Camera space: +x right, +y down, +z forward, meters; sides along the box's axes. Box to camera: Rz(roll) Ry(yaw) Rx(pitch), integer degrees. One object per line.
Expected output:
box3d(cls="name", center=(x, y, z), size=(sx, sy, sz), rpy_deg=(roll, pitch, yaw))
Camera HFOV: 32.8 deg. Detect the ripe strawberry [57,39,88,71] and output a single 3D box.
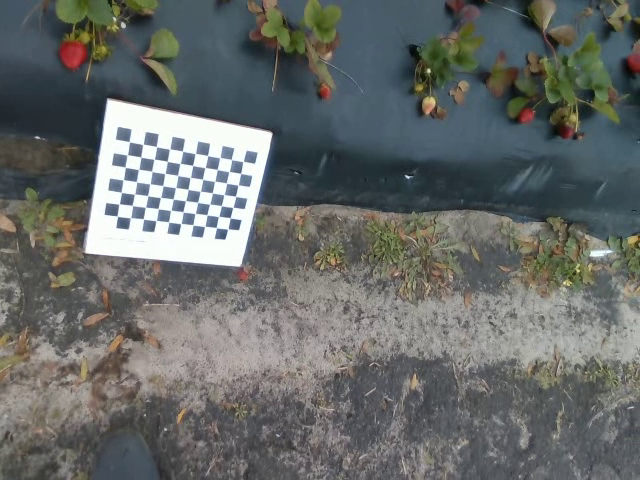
box3d(cls="ripe strawberry", center=(-0.117, -0.093, 0.544), size=(0.018, 0.017, 0.014), rpy_deg=(14, -34, -36))
